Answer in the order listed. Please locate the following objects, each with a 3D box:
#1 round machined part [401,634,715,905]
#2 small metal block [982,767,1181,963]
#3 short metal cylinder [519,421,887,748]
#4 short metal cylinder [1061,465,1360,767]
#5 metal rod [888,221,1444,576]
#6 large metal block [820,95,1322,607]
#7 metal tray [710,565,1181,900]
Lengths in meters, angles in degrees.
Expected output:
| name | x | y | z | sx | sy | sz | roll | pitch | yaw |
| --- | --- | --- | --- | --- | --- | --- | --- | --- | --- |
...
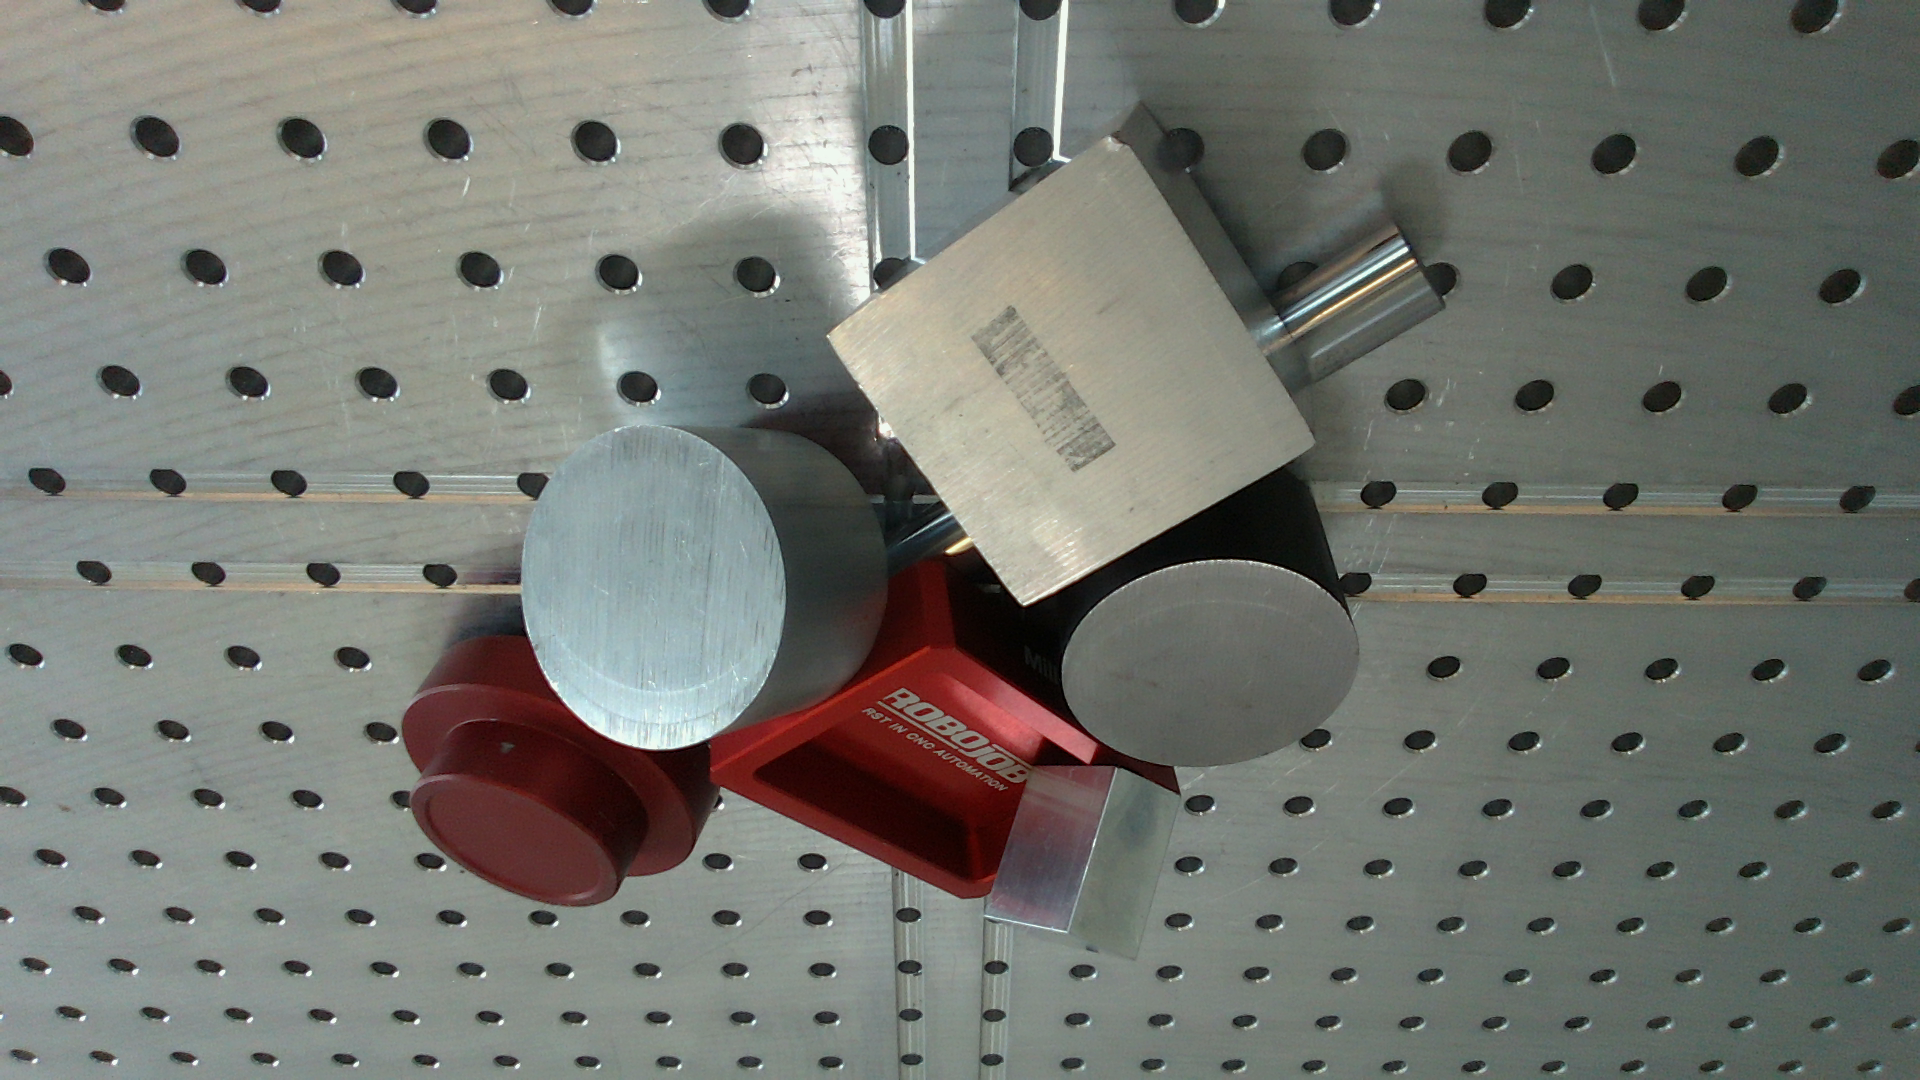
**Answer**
| name | x | y | z | sx | sy | sz | roll | pitch | yaw |
| --- | --- | --- | --- | --- | --- | --- | --- | --- | --- |
| round machined part | -0.129 | 0.077 | 0.430 | 0.098 | 0.042 | 0.098 | 11 | 137 | 11 |
| small metal block | 0.037 | 0.098 | 0.422 | 0.025 | 0.050 | 0.050 | 26 | 160 | -23 |
| short metal cylinder | -0.066 | 0.010 | 0.358 | 0.080 | 0.050 | 0.080 | 2 | 94 | 25 |
| short metal cylinder | 0.068 | 0.019 | 0.393 | 0.080 | 0.050 | 0.080 | 0 | 130 | 0 |
| metal rod | -0.006 | 0.002 | 0.397 | 0.299 | 0.025 | 0.025 | -30 | 124 | 24 |
| large metal block | 0.028 | -0.044 | 0.325 | 0.080 | 0.050 | 0.080 | -30 | 104 | 23 |
| metal tray | -0.002 | 0.065 | 0.427 | 0.090 | 0.030 | 0.130 | -30 | 136 | 23 |
